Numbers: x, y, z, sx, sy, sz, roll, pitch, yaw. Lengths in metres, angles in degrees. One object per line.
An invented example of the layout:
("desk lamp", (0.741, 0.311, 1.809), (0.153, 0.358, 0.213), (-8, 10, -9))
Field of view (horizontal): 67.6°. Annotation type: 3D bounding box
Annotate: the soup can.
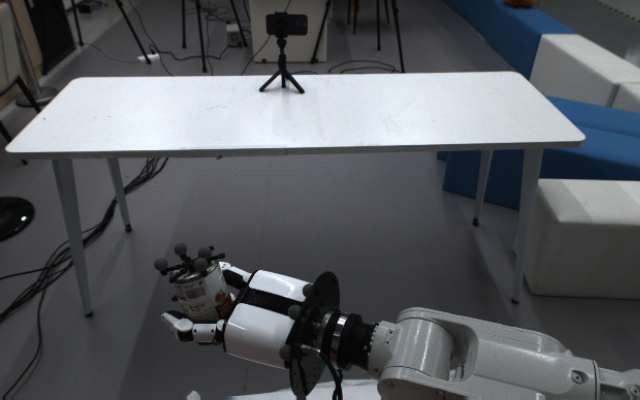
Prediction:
("soup can", (-0.155, 0.136, 0.655), (0.067, 0.101, 0.067), (-13, 19, 4))
